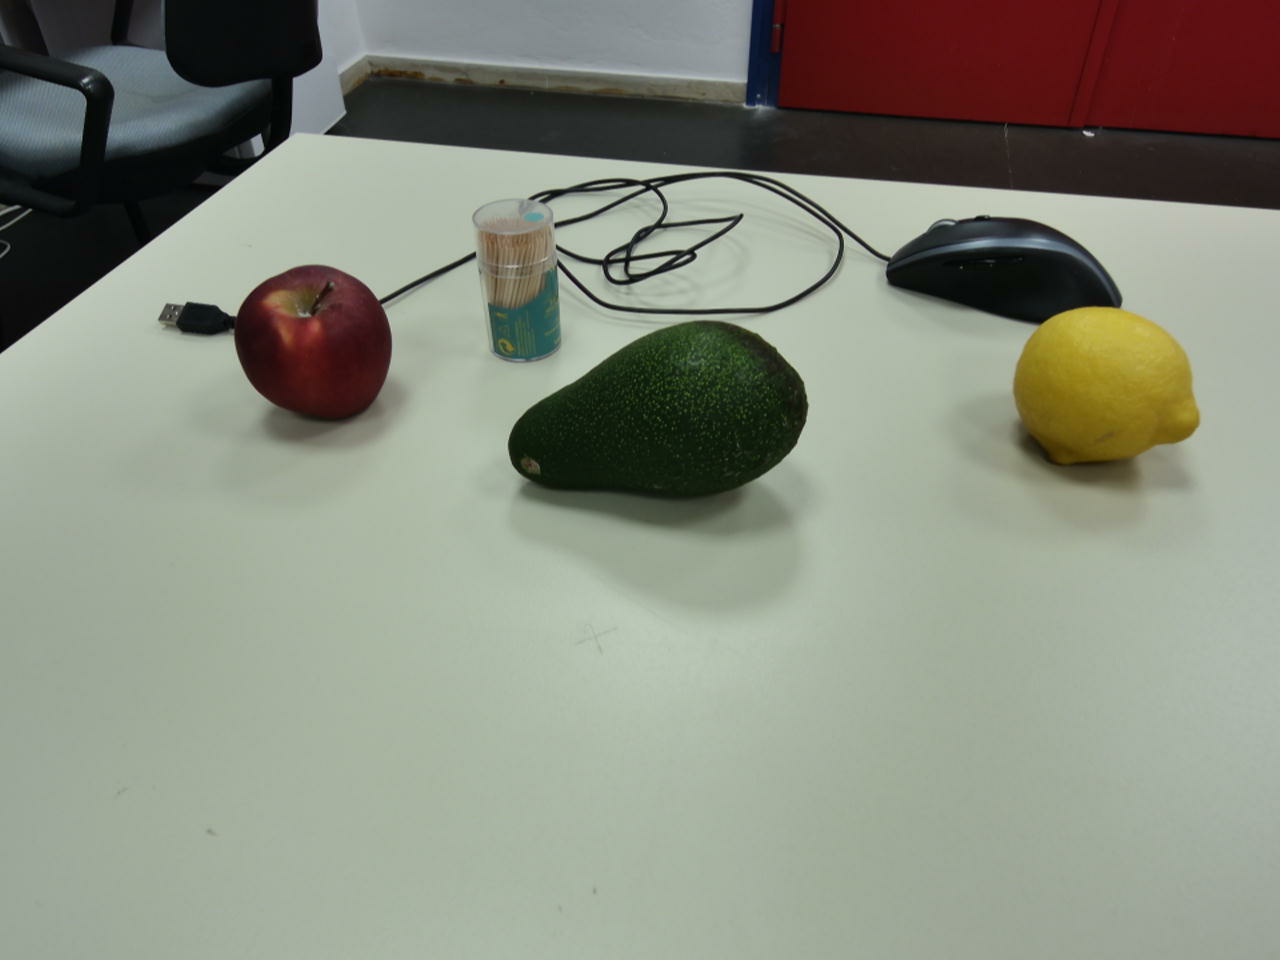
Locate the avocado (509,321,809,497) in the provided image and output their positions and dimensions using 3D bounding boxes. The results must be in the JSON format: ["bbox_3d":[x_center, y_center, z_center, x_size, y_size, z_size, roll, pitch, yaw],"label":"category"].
[{"bbox_3d":[0.009,-0.033,0.424,0.123,0.076,0.074,12,40,16],"label":"avocado"}]
